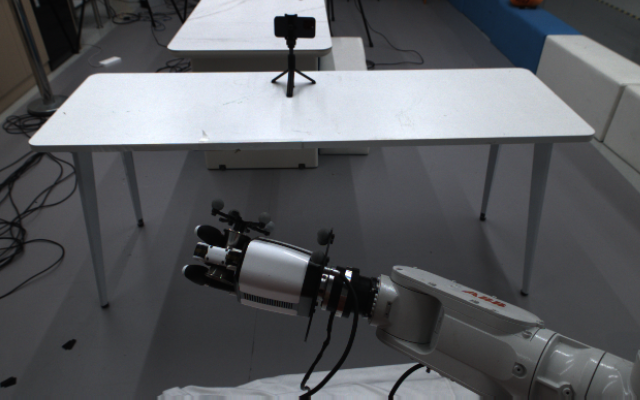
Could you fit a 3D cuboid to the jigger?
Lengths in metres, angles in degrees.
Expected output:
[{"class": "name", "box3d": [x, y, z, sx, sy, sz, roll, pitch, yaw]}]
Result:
[{"class": "jigger", "box3d": [-0.123, 0.078, 0.667, 0.043, 0.043, 0.071, 12, 71, 14]}]
